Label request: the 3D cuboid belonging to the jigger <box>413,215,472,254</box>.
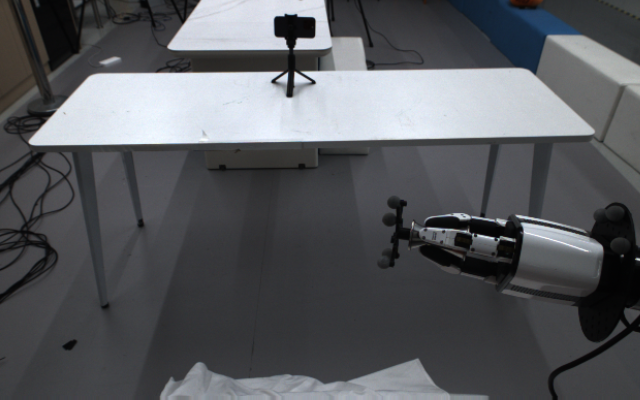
[{"bbox_3d":[0.152,0.045,0.596,0.071,0.043,0.043,8,35,14],"label":"jigger"}]
